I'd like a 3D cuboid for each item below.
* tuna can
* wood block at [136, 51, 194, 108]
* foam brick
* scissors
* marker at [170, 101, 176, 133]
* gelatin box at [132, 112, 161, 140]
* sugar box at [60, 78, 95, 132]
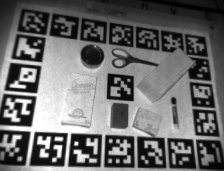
[{"bbox_3d":[-0.086,-0.091,0.803,0.086,0.033,0.085,4,72,-11],"label":"tuna can"},{"bbox_3d":[0.202,-0.023,0.819,0.207,0.091,0.089,-42,83,-21],"label":"wood block"},{"bbox_3d":[0.023,0.124,0.747,0.053,0.051,0.078,6,72,-9],"label":"foam brick"},{"bbox_3d":[0.083,-0.082,0.849,0.203,0.016,0.087,11,71,-6],"label":"scissors"},{"bbox_3d":[0.231,0.117,0.813,0.020,0.019,0.121,6,74,-9],"label":"marker"},{"bbox_3d":[0.123,0.146,0.777,0.089,0.030,0.073,23,70,-4],"label":"gelatin box"},{"bbox_3d":[-0.116,0.067,0.744,0.093,0.045,0.176,9,71,-10],"label":"sugar box"}]
